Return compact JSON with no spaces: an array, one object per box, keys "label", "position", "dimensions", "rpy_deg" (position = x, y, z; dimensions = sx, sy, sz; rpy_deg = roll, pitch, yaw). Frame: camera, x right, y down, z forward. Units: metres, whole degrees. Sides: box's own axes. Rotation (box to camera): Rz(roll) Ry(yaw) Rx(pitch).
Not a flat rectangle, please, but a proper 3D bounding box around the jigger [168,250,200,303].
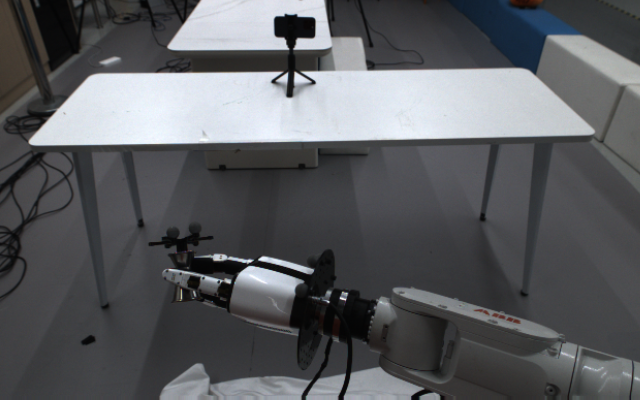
[{"label":"jigger","position":[-0.189,0.108,0.683],"dimensions":[0.043,0.043,0.071],"rpy_deg":[-7,79,-13]}]
